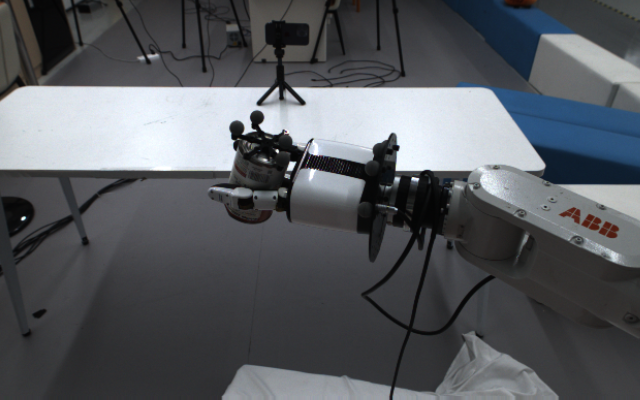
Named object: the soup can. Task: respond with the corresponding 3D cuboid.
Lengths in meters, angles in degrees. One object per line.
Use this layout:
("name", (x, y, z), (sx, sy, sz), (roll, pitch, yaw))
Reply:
("soup can", (-0.081, -0.027, 0.622), (0.067, 0.101, 0.067), (14, 40, -12))
